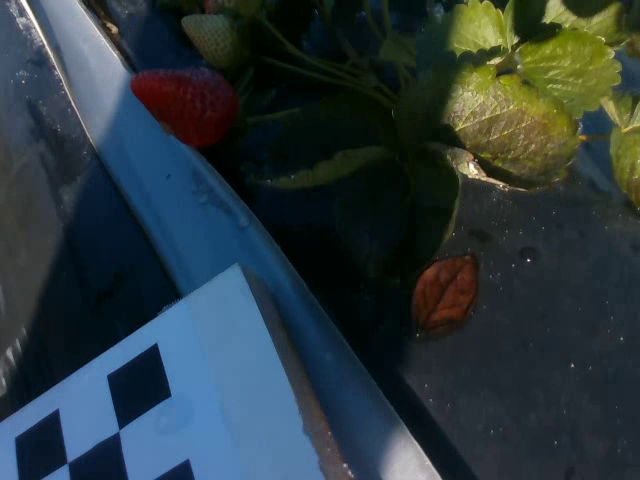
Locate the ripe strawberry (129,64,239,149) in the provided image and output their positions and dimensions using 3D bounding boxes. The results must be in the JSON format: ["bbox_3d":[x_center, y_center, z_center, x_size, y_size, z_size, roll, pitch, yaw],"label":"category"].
[{"bbox_3d":[-0.053,-0.053,0.232,0.045,0.038,0.036,23,28,-45],"label":"ripe strawberry"}]
